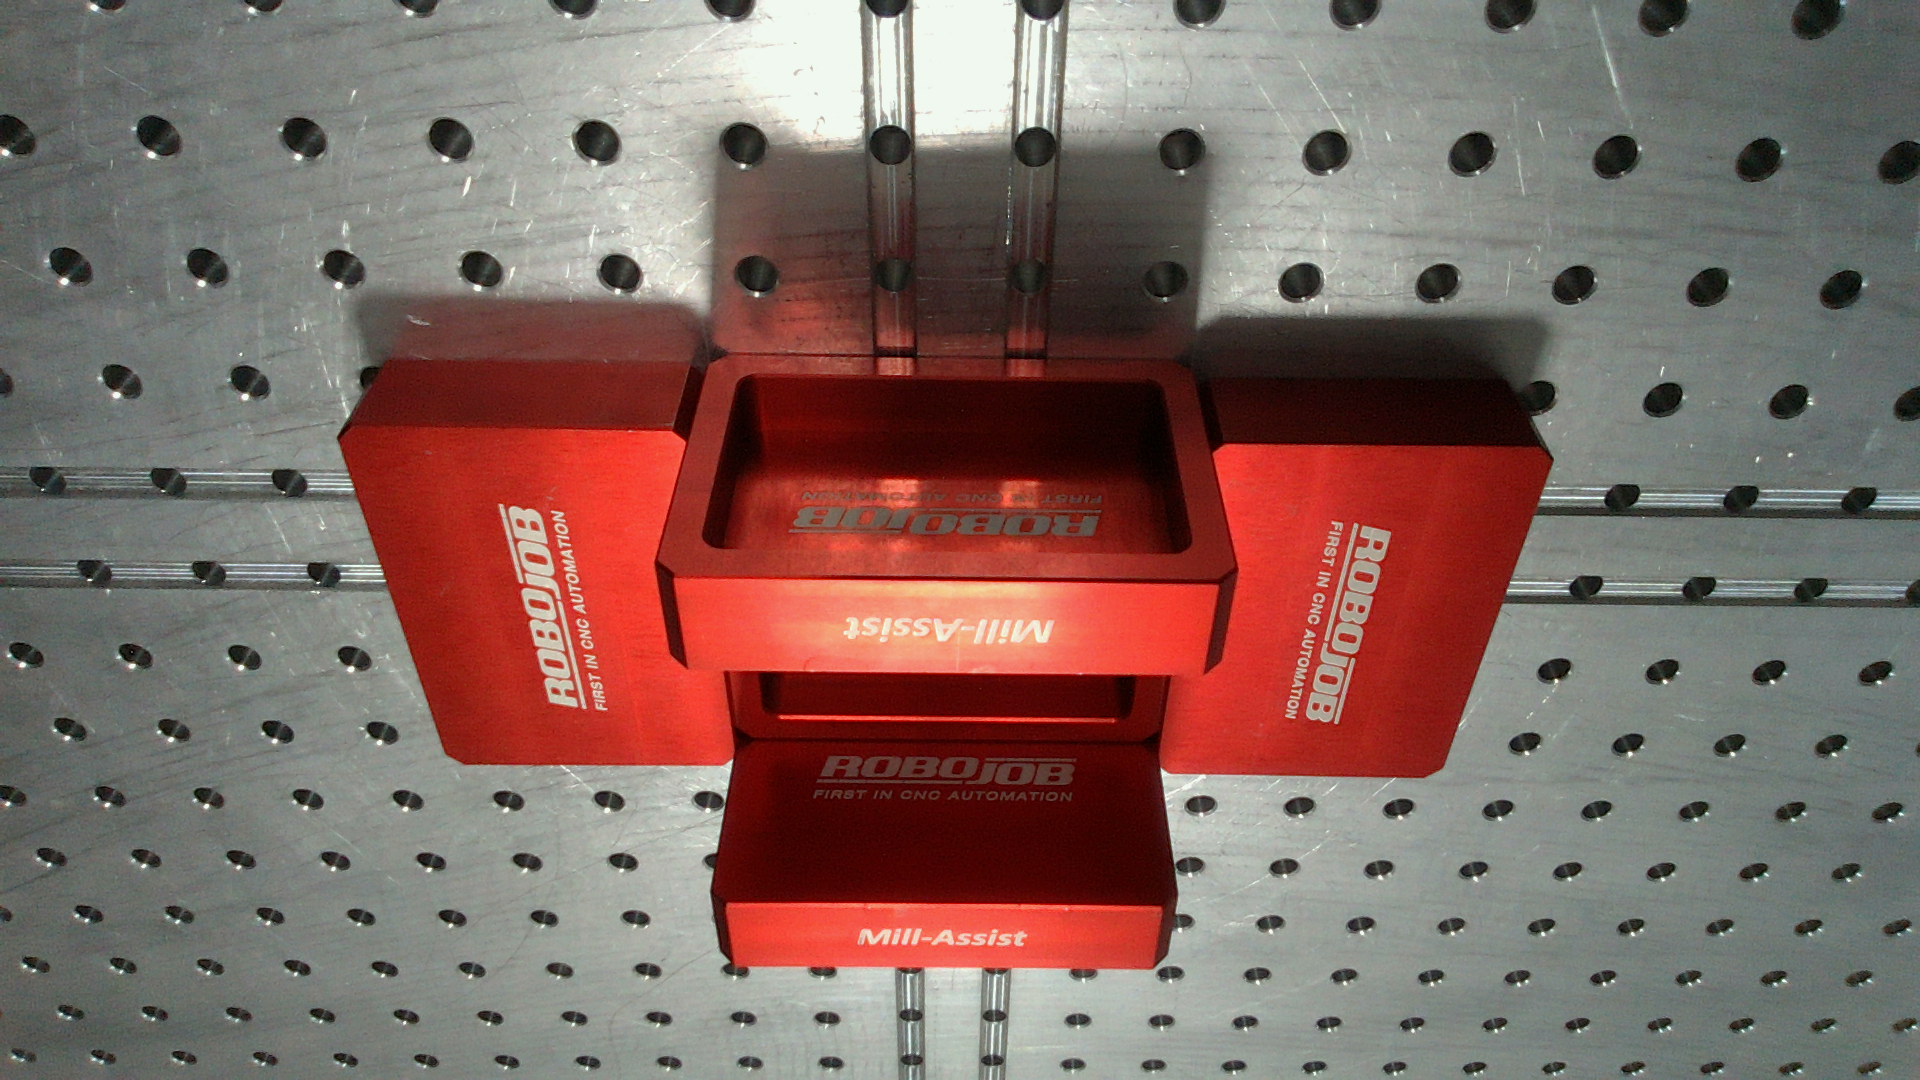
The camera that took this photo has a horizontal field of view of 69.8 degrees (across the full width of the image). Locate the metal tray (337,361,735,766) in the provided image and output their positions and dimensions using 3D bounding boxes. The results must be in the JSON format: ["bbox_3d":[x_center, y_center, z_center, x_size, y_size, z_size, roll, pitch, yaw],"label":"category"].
[{"bbox_3d":[-0.114,0.011,0.399,0.090,0.030,0.130,0,130,-1],"label":"metal tray"}]

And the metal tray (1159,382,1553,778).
[{"bbox_3d":[0.107,0.016,0.402,0.090,0.030,0.130,0,130,-1],"label":"metal tray"}]

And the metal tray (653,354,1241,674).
[{"bbox_3d":[-0.003,-0.009,0.343,0.130,0.090,0.030,1,130,-1],"label":"metal tray"}]

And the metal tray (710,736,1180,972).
[{"bbox_3d":[-0.004,0.084,0.420,0.130,0.090,0.030,1,130,-1],"label":"metal tray"}]

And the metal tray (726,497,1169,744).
[{"bbox_3d":[-0.003,0.019,0.403,0.130,0.030,0.090,0,130,-1],"label":"metal tray"}]
